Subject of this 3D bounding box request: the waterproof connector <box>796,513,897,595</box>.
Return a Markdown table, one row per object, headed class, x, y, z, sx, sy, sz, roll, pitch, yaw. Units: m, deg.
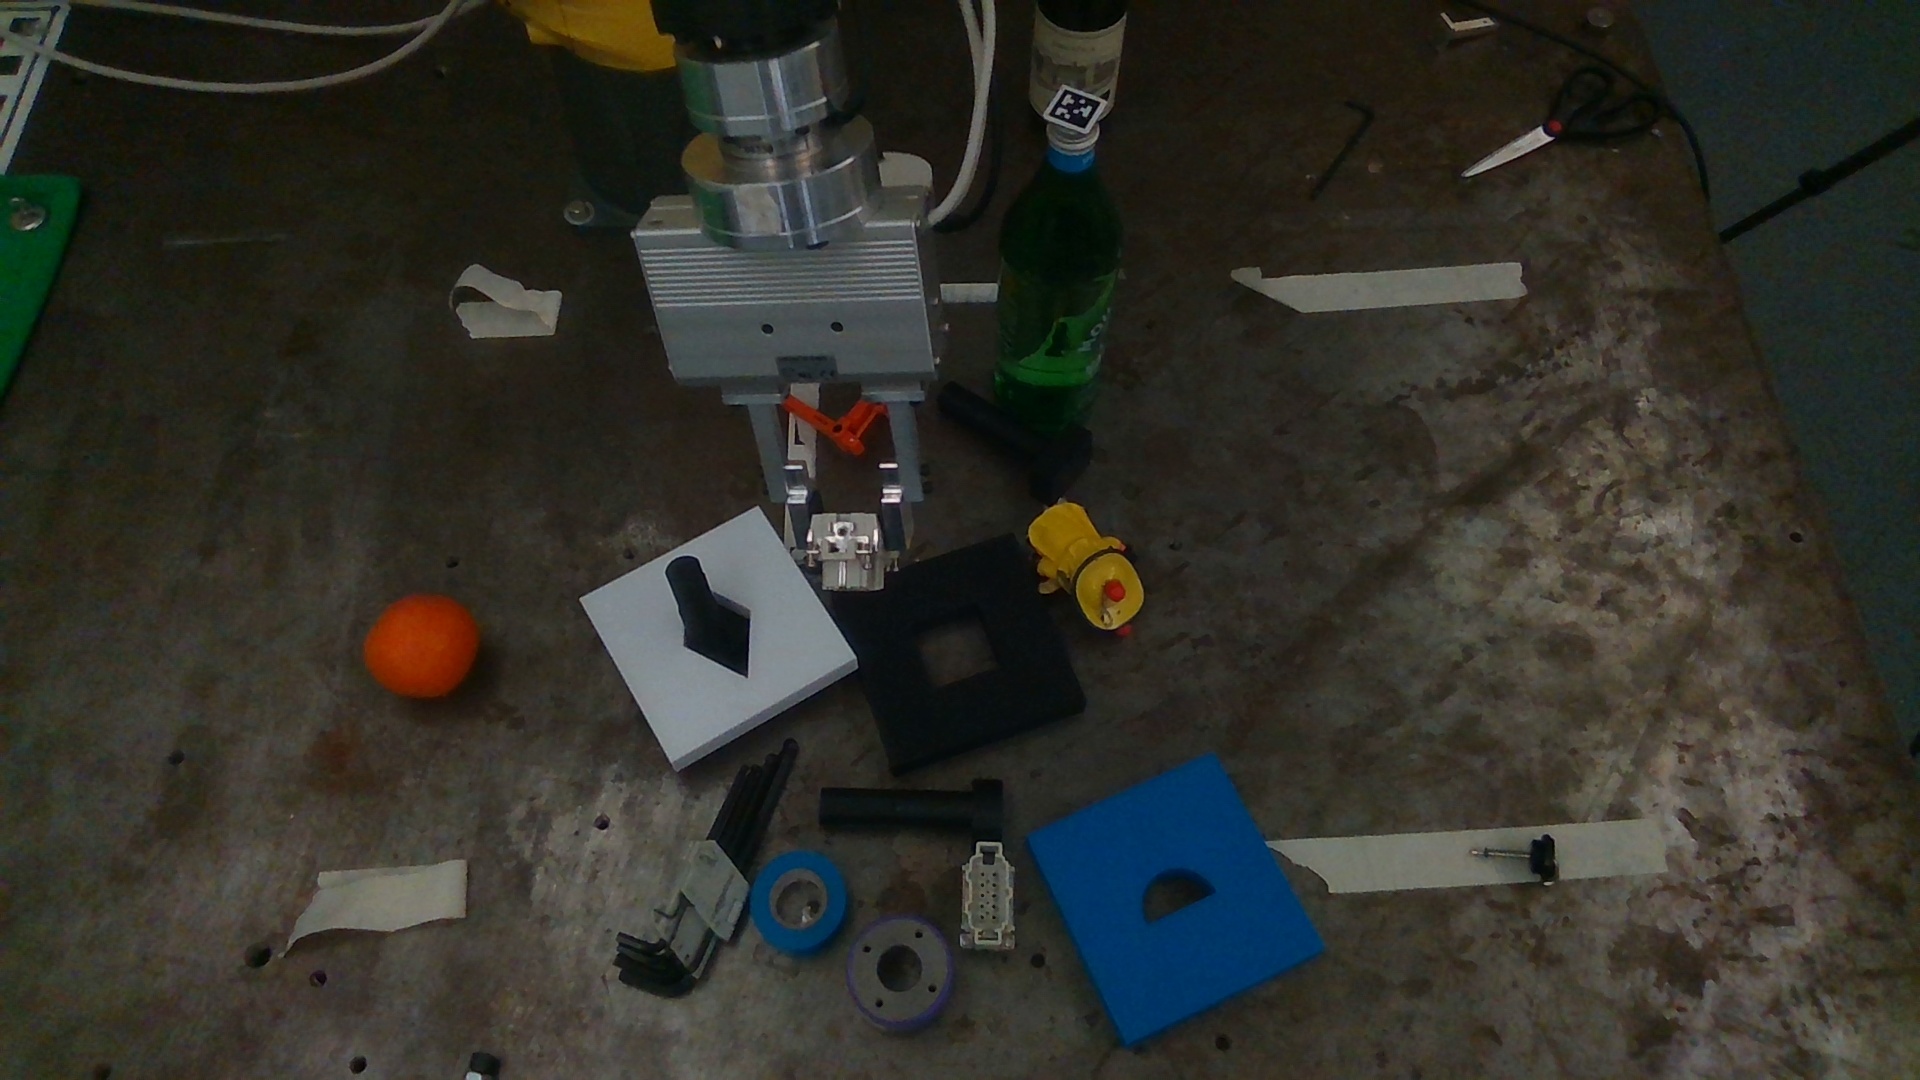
| class | x | y | z | sx | sy | sz | roll | pitch | yaw |
| --- | --- | --- | --- | --- | --- | --- | --- | --- | --- |
| waterproof connector | -0.057 | 0.008 | 0.710 | 0.037 | 0.069 | 0.038 | -3 | 85 | 12 |
